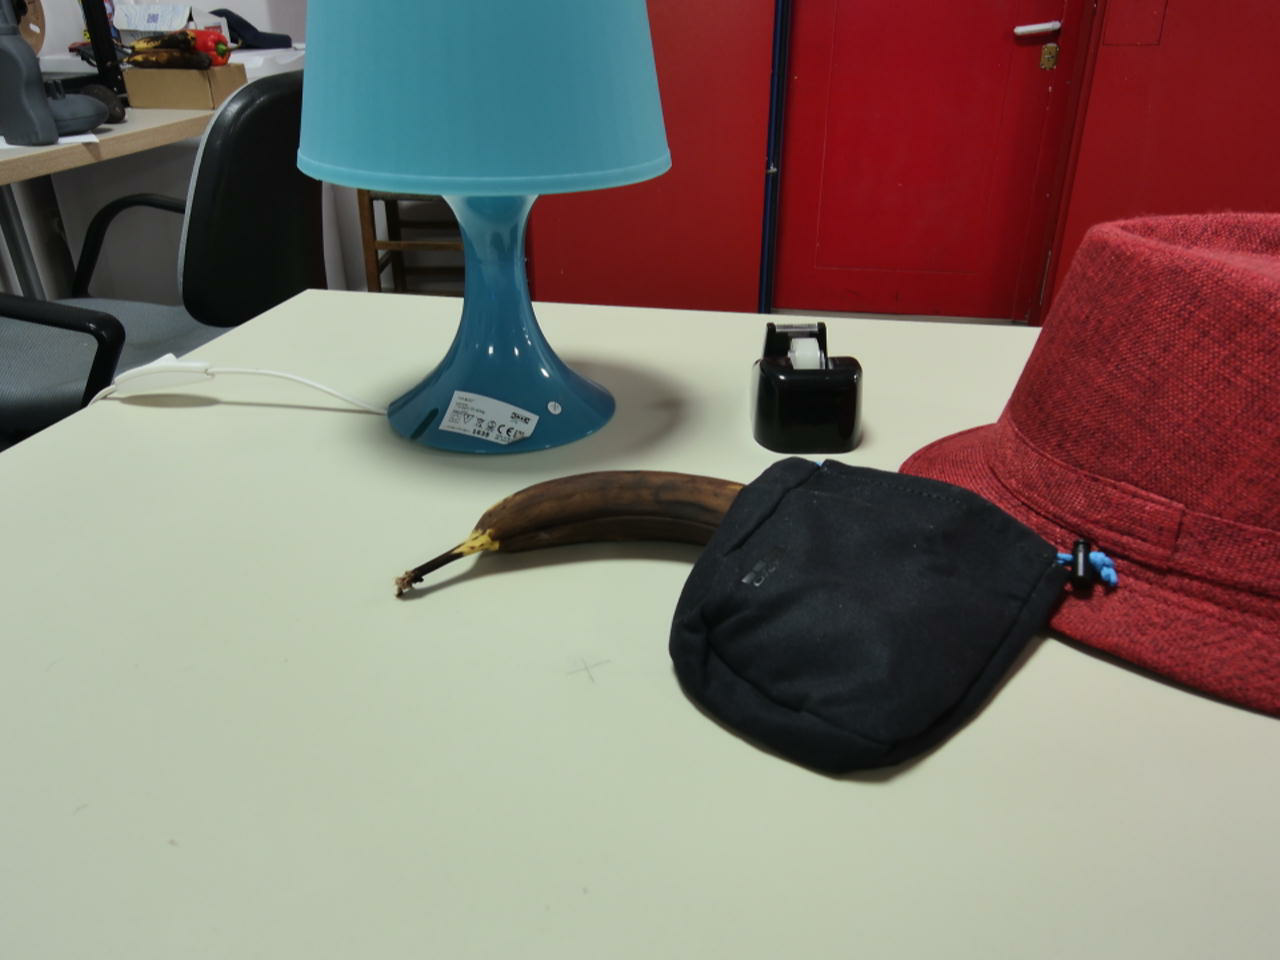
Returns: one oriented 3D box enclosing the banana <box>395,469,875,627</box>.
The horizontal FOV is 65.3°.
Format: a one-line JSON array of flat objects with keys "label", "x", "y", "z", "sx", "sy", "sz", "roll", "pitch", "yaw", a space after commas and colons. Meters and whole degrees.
[{"label": "banana", "x": 0.002, "y": 0.023, "z": 0.416, "sx": 0.188, "sy": 0.034, "sz": 0.091, "roll": 6, "pitch": 25, "yaw": 13}]
